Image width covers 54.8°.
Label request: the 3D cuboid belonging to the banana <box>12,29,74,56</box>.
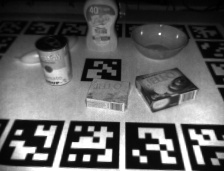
[{"bbox_3d":[-0.186,-0.128,0.637,0.199,0.039,0.073,-33,42,-32],"label":"banana"}]

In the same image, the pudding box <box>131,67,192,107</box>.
[{"bbox_3d":[0.113,-0.005,0.509,0.114,0.039,0.089,-14,50,-16],"label":"pudding box"}]

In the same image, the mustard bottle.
[{"bbox_3d":[-0.037,-0.215,0.605,0.096,0.192,0.058,2,40,2],"label":"mustard bottle"}]

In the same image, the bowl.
[{"bbox_3d":[0.133,-0.136,0.644,0.161,0.055,0.161,0,42,1],"label":"bowl"}]

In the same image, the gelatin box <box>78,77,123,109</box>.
[{"bbox_3d":[-0.025,0.012,0.495,0.089,0.030,0.073,7,46,7],"label":"gelatin box"}]

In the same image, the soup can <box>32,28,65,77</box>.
[{"bbox_3d":[-0.152,-0.081,0.526,0.068,0.102,0.067,2,41,-1],"label":"soup can"}]
